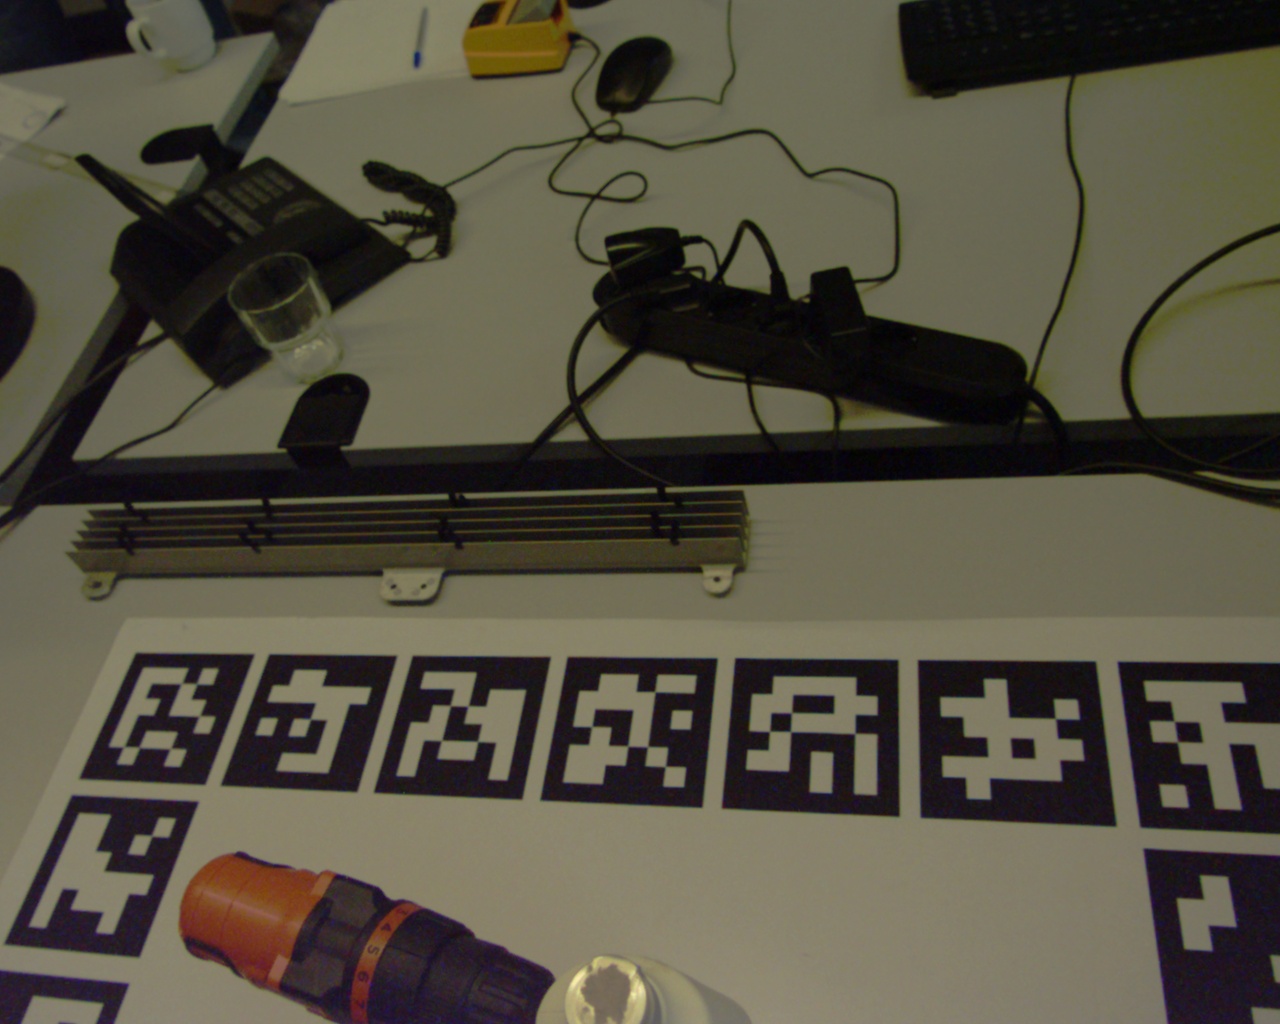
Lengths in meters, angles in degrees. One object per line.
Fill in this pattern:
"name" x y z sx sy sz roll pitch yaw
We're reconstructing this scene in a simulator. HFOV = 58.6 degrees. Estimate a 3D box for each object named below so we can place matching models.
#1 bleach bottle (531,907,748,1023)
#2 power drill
"bleach bottle" 0.000 0.238 0.498 0.103 0.249 0.068 1 48 16
"power drill" -0.105 0.232 0.538 0.186 0.185 0.057 10 56 21
